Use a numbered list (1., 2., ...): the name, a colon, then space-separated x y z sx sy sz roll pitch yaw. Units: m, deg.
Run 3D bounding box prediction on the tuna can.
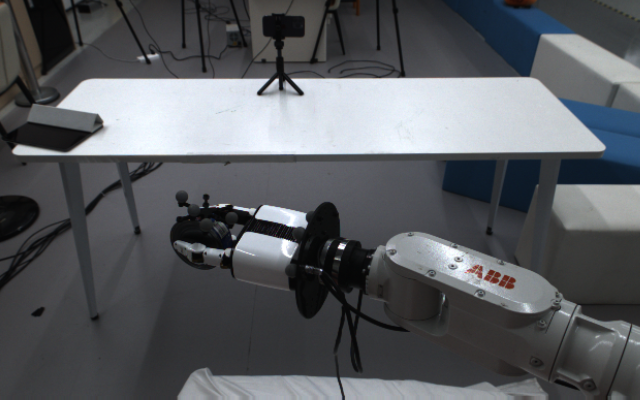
1. tuna can: -0.172 0.059 0.708 0.085 0.085 0.034 13 30 15
